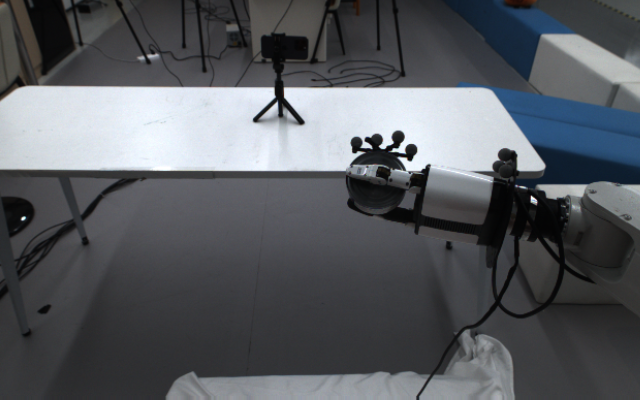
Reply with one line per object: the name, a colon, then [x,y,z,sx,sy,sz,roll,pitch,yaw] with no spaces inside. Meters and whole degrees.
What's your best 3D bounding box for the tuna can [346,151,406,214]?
tuna can: [0.079,-0.029,0.680,0.085,0.034,0.085,-3,67,7]
